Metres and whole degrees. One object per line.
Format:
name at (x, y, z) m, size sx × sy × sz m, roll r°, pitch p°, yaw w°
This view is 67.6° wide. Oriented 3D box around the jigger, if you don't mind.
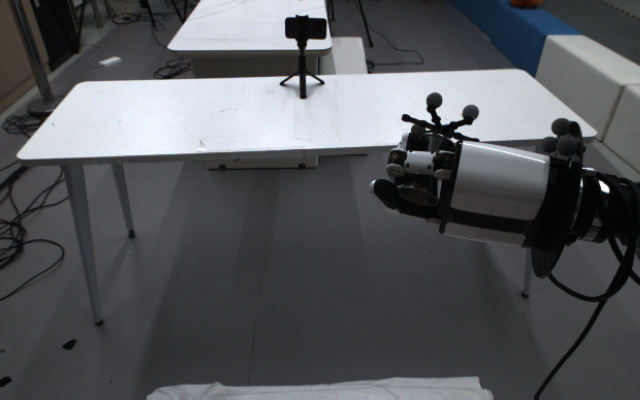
jigger at (0.116, -0.036, 0.521) m, size 0.043 × 0.043 × 0.071 m, roll 16°, pitch 70°, yaw 19°
